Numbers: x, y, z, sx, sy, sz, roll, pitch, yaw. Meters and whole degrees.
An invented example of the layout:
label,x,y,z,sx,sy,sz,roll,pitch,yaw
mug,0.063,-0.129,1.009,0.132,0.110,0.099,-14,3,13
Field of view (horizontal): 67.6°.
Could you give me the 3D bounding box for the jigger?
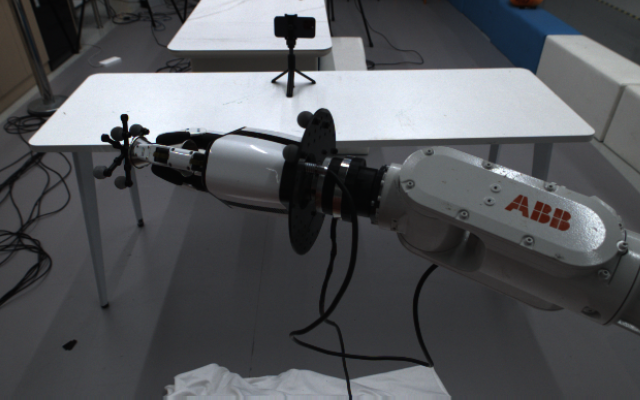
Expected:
label,x,y,z,sx,sy,sz,roll,pitch,yaw
jigger,-0.178,-0.056,0.569,0.071,0.043,0.043,7,35,15
